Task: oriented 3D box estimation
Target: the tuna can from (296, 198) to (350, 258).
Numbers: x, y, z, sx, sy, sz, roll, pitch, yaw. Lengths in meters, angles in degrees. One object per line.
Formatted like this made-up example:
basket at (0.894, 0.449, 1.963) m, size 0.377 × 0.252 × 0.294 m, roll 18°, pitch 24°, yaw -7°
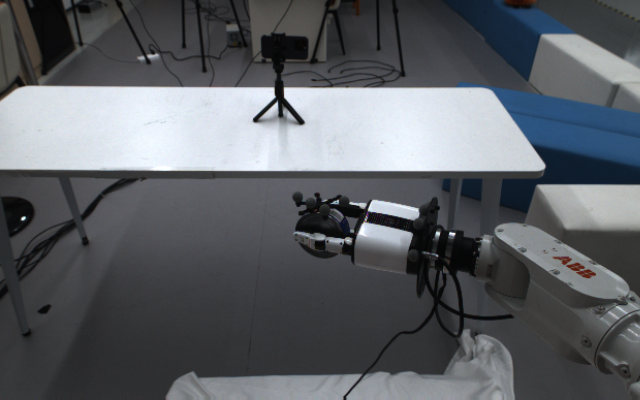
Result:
tuna can at (0.006, 0.051, 0.796) m, size 0.085 × 0.085 × 0.034 m, roll 14°, pitch 29°, yaw 16°
